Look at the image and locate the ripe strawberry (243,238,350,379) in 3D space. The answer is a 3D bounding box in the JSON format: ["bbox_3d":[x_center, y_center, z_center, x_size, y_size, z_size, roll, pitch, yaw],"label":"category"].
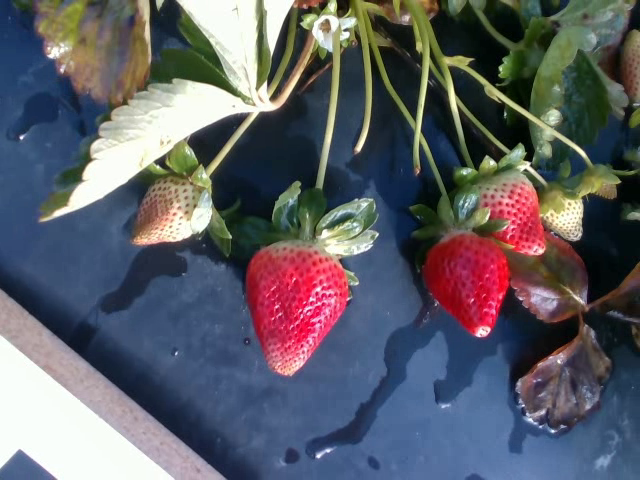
[{"bbox_3d":[-0.012,0.029,0.256,0.050,0.065,0.050,8,-34,8],"label":"ripe strawberry"}]

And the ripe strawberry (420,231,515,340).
[{"bbox_3d":[0.069,0.023,0.284,0.045,0.055,0.042,-15,-34,15],"label":"ripe strawberry"}]
